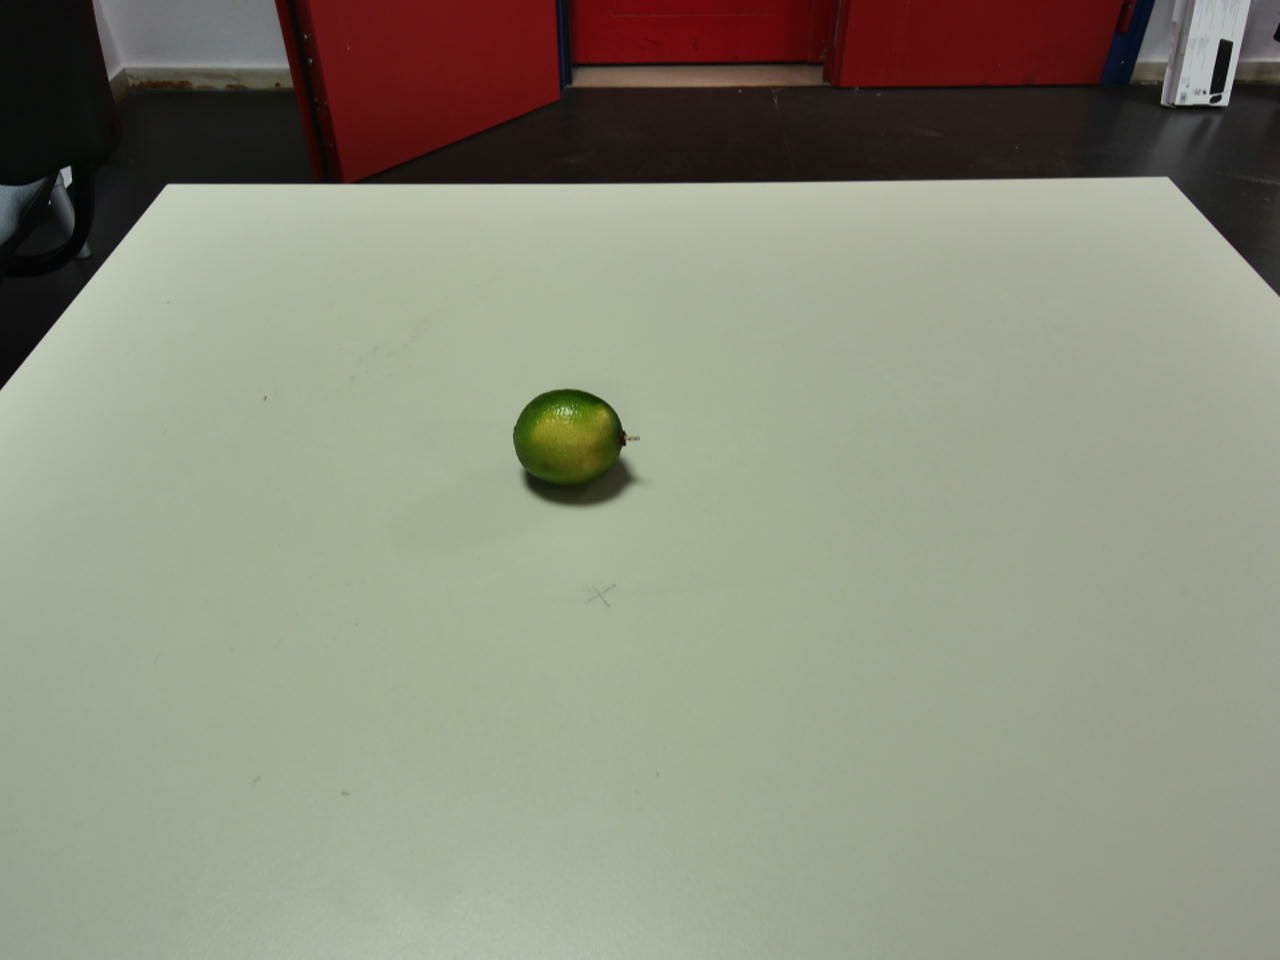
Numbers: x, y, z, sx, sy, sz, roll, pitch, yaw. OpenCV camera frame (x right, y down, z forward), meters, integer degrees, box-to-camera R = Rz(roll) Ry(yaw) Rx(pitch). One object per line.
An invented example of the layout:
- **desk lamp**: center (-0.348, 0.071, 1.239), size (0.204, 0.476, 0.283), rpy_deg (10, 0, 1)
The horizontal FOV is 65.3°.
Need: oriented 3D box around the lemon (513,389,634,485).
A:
- **lemon**: center (-0.038, -0.023, 0.530), size (0.054, 0.050, 0.055), rpy_deg (-28, 47, -30)
